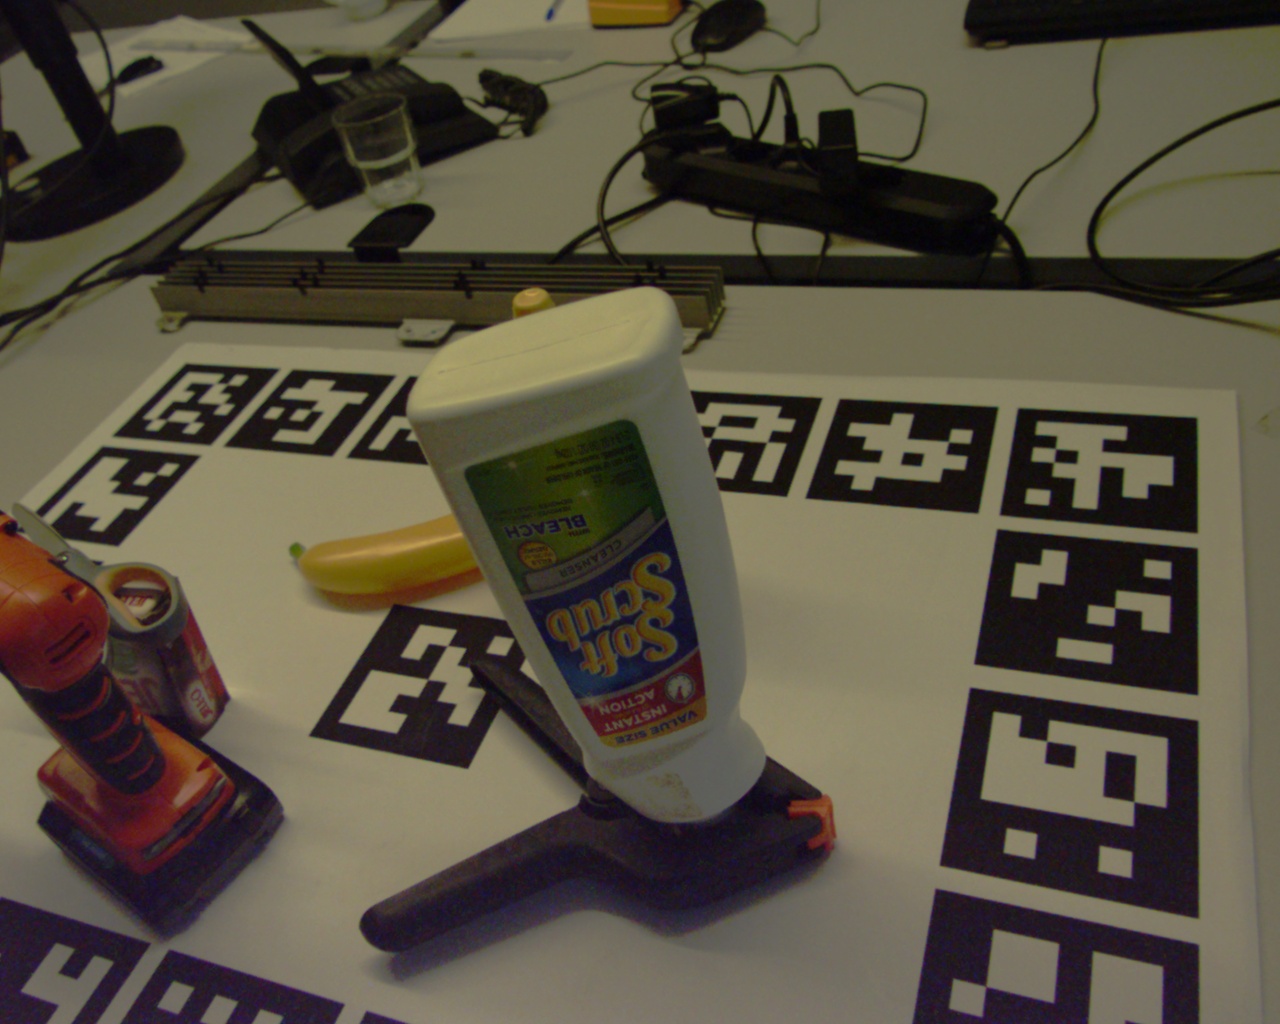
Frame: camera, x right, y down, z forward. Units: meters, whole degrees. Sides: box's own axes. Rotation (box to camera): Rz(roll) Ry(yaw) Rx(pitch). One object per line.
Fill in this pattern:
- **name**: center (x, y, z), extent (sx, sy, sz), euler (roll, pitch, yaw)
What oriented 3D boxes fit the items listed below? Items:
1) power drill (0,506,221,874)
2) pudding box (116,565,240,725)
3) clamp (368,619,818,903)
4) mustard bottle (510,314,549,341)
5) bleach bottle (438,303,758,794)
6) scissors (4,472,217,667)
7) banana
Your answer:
- **power drill**: center (-0.291, 0.079, 0.557), extent (0.187, 0.186, 0.057), euler (14, 41, 33)
- **pudding box**: center (-0.306, 0.074, 0.685), extent (0.115, 0.089, 0.038), euler (9, 39, 24)
- **clamp**: center (-0.015, 0.124, 0.562), extent (0.204, 0.036, 0.165), euler (2, 45, 16)
- **mustard bottle**: center (-0.044, -0.029, 0.656), extent (0.097, 0.190, 0.058), euler (18, 49, 30)
- **bleach bottle**: center (0.004, 0.040, 0.492), extent (0.103, 0.249, 0.068), euler (-13, 36, 12)
- **scissors**: center (-0.323, 0.021, 0.652), extent (0.205, 0.016, 0.087), euler (30, 61, 34)
- **banana**: center (-0.129, -0.001, 0.748), extent (0.197, 0.038, 0.075), euler (-21, 24, -8)
